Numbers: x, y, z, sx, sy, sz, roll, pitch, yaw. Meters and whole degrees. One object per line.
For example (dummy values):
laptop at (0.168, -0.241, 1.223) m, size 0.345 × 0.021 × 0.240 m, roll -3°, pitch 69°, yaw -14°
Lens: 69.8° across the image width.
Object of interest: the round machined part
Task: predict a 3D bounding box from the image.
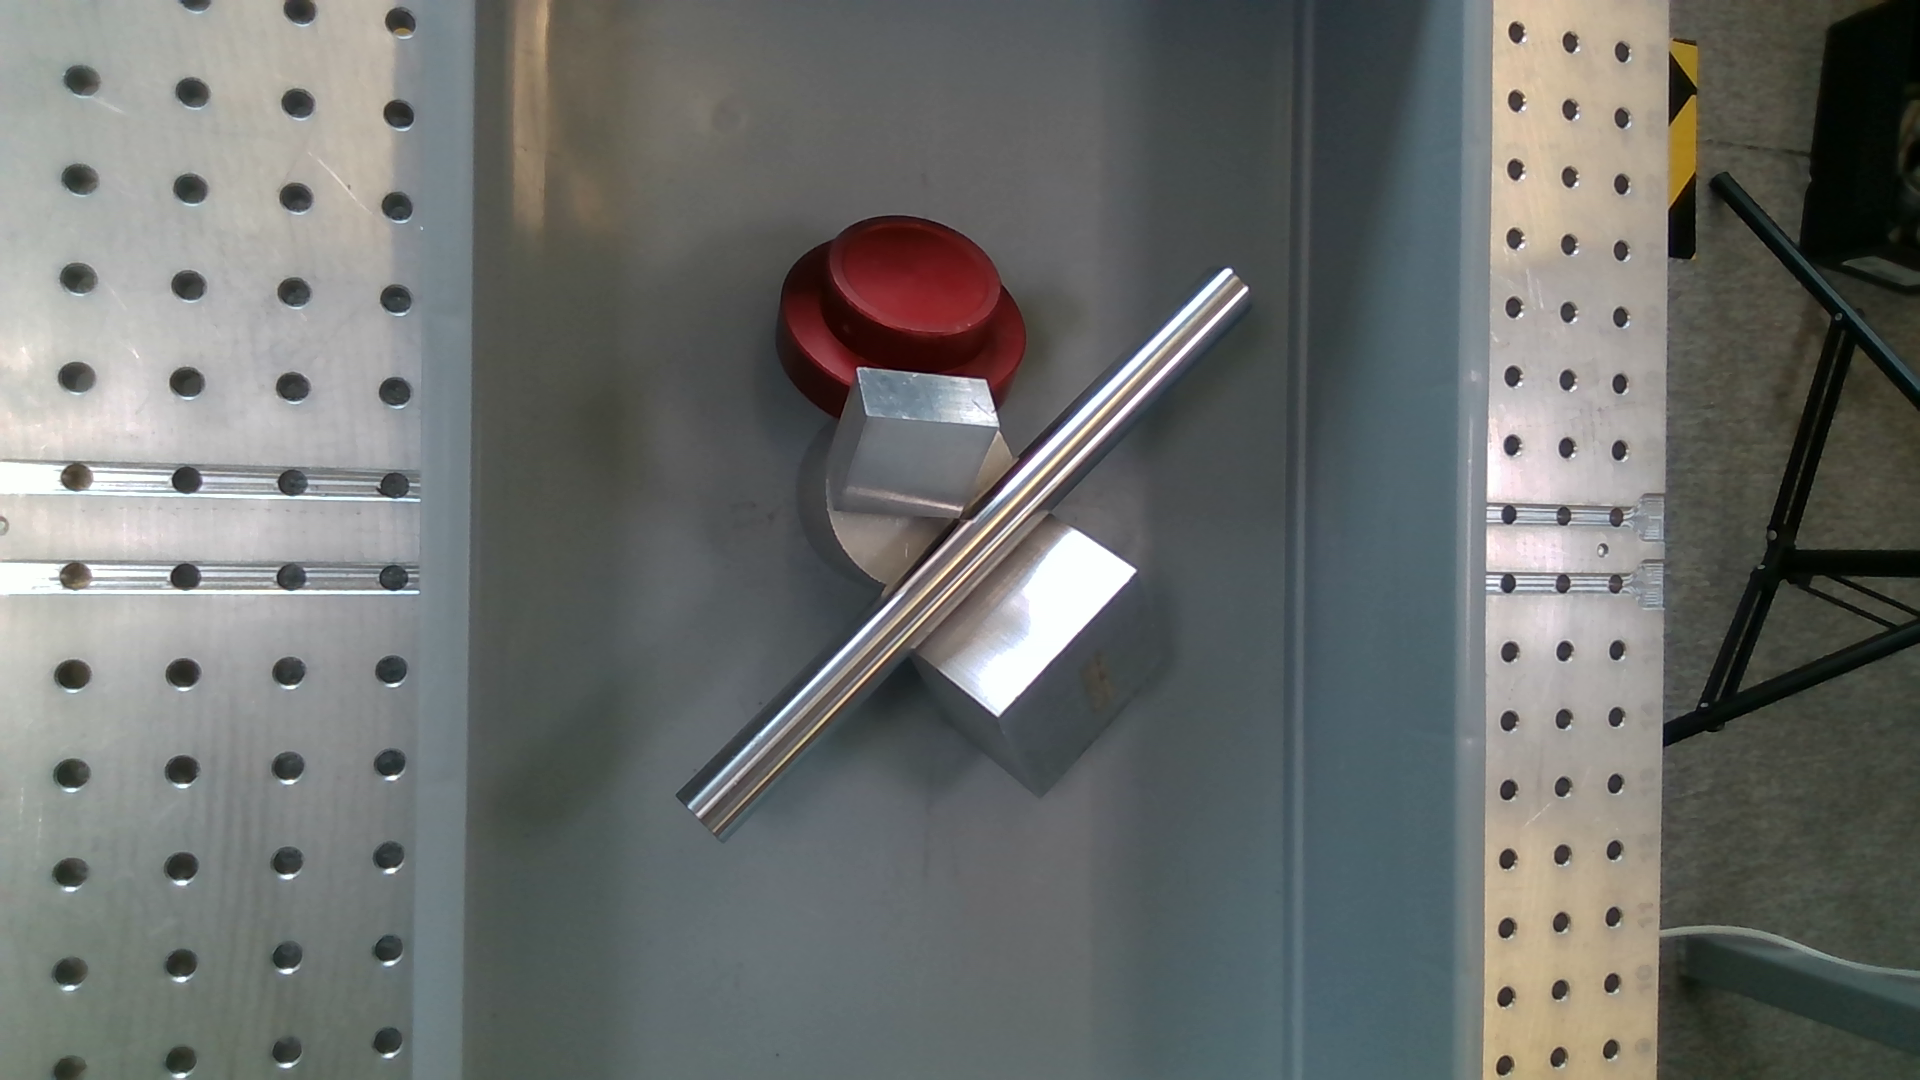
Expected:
round machined part at (-0.021, -0.090, 0.540) m, size 0.098 × 0.042 × 0.098 m, roll 8°, pitch 50°, yaw -10°

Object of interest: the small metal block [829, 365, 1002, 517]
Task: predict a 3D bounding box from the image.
small metal block at (-0.018, -0.036, 0.509) m, size 0.050 × 0.050 × 0.025 m, roll 3°, pitch 49°, yaw -20°

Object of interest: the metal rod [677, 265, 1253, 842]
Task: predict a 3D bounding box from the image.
metal rod at (0.009, -0.002, 0.535) m, size 0.300 × 0.025 × 0.025 m, roll -45°, pitch 104°, yaw -14°

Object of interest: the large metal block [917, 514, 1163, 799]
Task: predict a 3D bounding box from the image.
large metal block at (0.033, 0.046, 0.561) m, size 0.080 × 0.050 × 0.080 m, roll -46°, pitch 147°, yaw -14°

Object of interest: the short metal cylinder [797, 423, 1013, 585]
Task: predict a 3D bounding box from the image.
short metal cylinder at (-0.022, -0.020, 0.563) m, size 0.080 × 0.050 × 0.080 m, roll 0°, pitch 90°, yaw -20°
